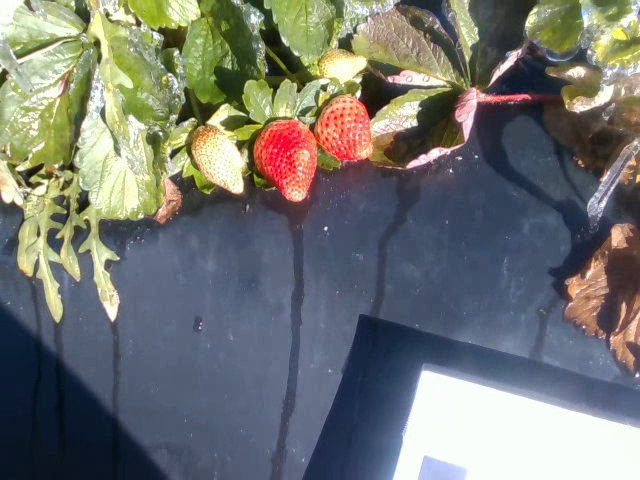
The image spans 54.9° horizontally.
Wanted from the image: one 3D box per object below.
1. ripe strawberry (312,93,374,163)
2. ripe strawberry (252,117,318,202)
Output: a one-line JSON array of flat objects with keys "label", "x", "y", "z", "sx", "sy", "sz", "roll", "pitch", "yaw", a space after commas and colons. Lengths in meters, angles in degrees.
[{"label": "ripe strawberry", "x": 0.017, "y": -0.059, "z": 0.330, "sx": 0.041, "sy": 0.036, "sz": 0.030, "roll": 41, "pitch": 9, "yaw": 12}, {"label": "ripe strawberry", "x": -0.015, "y": -0.037, "z": 0.319, "sx": 0.036, "sy": 0.052, "sz": 0.040, "roll": -26, "pitch": -40, "yaw": 10}]
